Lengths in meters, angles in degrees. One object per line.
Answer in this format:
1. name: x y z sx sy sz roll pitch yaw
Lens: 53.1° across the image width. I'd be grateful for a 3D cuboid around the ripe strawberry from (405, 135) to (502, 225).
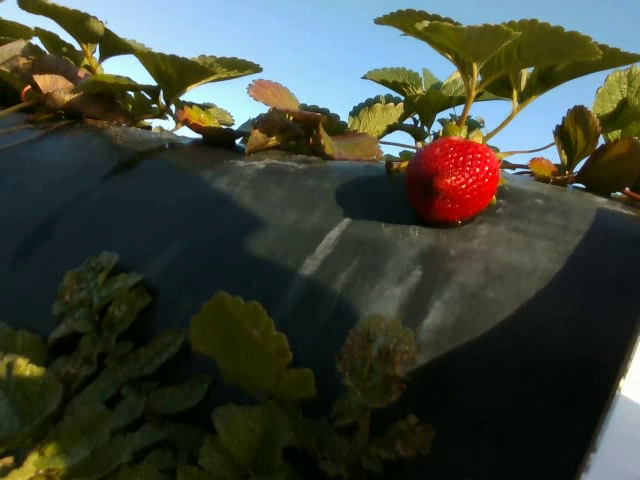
1. ripe strawberry: 0.047 -0.023 0.233 0.040 0.037 0.044 8 19 11
